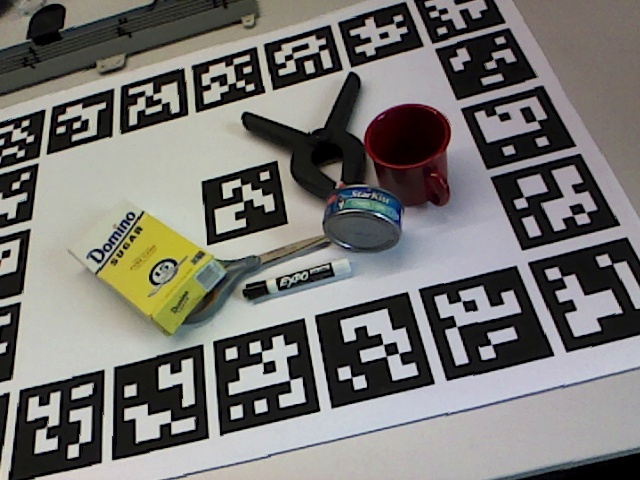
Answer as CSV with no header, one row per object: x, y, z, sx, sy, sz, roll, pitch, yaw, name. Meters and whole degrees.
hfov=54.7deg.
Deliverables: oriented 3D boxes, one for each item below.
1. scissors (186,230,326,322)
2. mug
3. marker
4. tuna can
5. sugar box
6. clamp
-0.088,0.027,0.711,0.203,0.016,0.088,-22,52,-2,scissors
0.099,-0.075,0.694,0.093,0.081,0.118,-37,54,-10,mug
-0.037,0.051,0.686,0.121,0.019,0.020,-17,57,4,marker
0.049,-0.019,0.667,0.086,0.085,0.034,1,59,15,tuna can
-0.198,0.026,0.722,0.093,0.045,0.177,-45,53,-15,sugar box
0.004,-0.113,0.779,0.165,0.036,0.204,-23,57,0,clamp
